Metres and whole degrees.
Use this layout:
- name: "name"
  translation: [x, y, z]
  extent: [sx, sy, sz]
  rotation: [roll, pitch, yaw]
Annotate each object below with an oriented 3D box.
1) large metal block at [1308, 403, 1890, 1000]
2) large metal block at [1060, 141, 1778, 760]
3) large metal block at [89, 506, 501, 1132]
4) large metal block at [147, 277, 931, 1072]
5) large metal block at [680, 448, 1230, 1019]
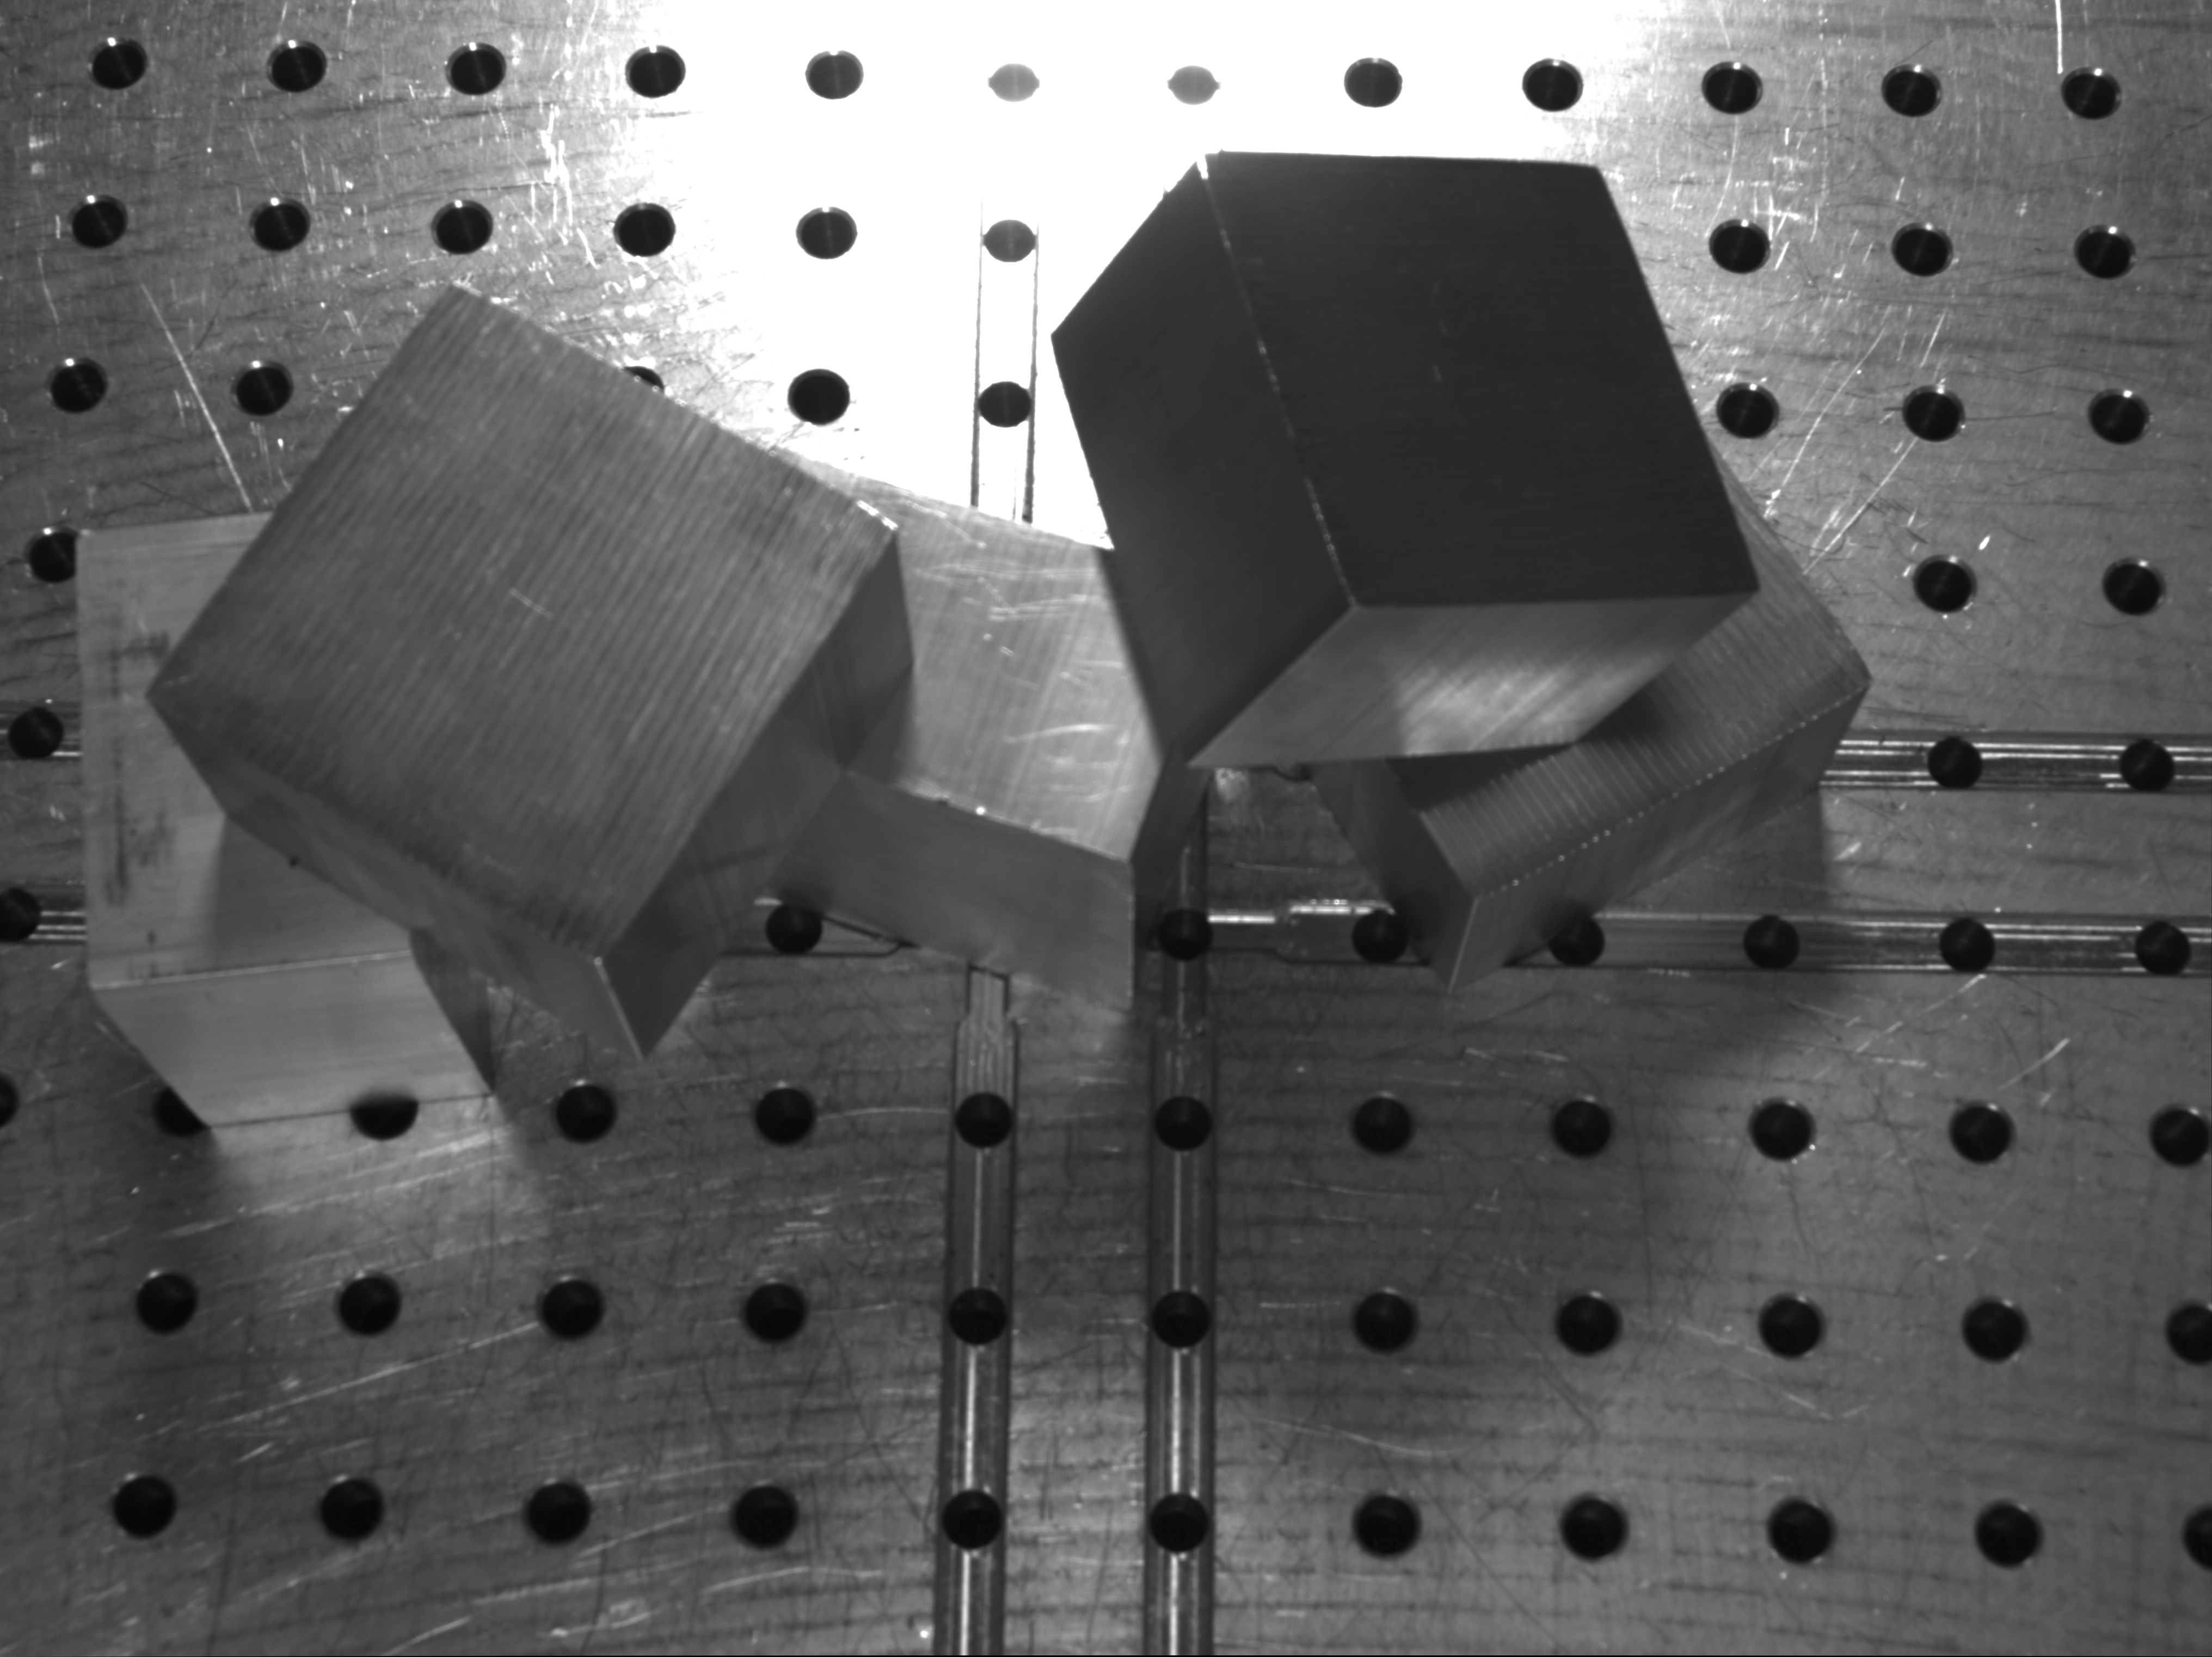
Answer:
- name: "large metal block"
  translation: [0.078, -0.030, 0.645]
  extent: [0.080, 0.050, 0.080]
  rotation: [-29, 72, -10]
- name: "large metal block"
  translation: [0.049, -0.060, 0.583]
  extent: [0.080, 0.050, 0.080]
  rotation: [-4, 67, -32]
- name: "large metal block"
  translation: [-0.135, -0.001, 0.618]
  extent: [0.050, 0.080, 0.080]
  rotation: [-6, 70, -2]
- name: "large metal block"
  translation: [-0.083, -0.023, 0.556]
  extent: [0.080, 0.050, 0.080]
  rotation: [30, 72, 11]
- name: "large metal block"
  translation: [-0.023, -0.015, 0.623]
  extent: [0.080, 0.080, 0.050]
  rotation: [18, 71, 6]
